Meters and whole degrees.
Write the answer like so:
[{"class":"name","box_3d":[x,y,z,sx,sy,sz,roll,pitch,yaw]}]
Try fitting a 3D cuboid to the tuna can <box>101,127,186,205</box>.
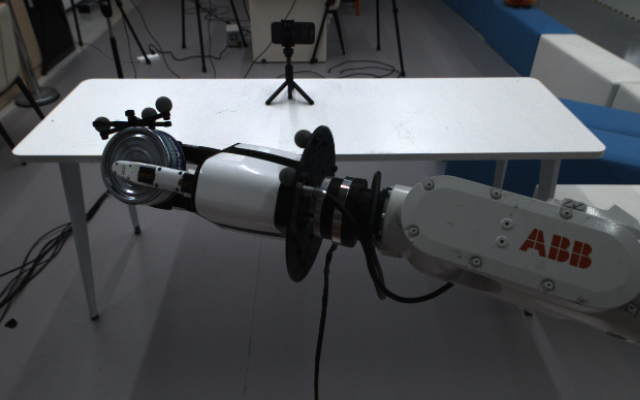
[{"class":"tuna can","box_3d":[-0.189,-0.031,0.524,0.085,0.085,0.034,12,3,14]}]
